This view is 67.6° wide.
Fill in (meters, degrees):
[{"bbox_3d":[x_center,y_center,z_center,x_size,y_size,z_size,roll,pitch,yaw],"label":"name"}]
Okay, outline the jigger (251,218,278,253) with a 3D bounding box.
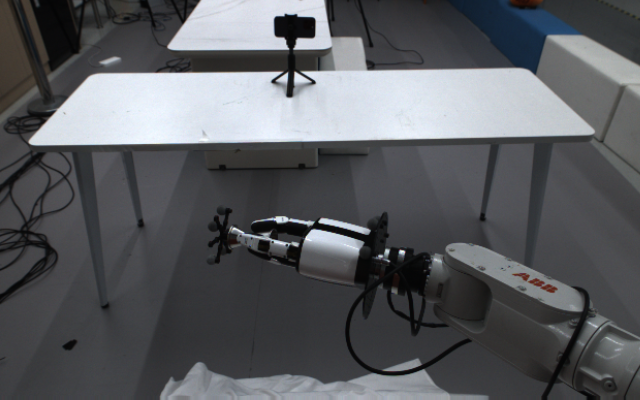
[{"bbox_3d":[-0.099,0.059,0.754,0.071,0.043,0.043,7,35,14],"label":"jigger"}]
